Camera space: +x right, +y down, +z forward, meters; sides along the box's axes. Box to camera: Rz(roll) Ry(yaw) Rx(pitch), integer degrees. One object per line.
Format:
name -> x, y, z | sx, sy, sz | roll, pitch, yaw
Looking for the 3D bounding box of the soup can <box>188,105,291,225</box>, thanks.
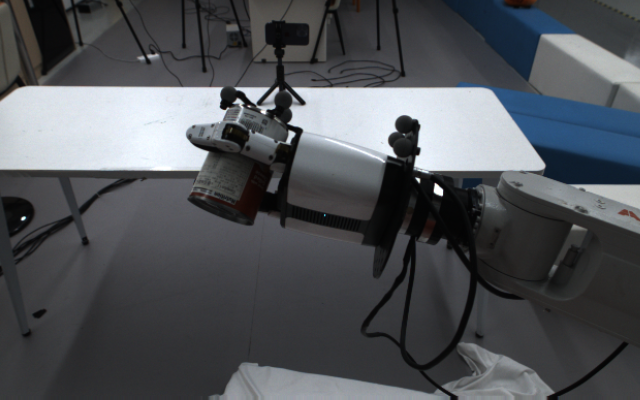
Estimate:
soup can -> -0.077, -0.034, 0.478 | 0.067, 0.067, 0.101 | 15, 75, 18
